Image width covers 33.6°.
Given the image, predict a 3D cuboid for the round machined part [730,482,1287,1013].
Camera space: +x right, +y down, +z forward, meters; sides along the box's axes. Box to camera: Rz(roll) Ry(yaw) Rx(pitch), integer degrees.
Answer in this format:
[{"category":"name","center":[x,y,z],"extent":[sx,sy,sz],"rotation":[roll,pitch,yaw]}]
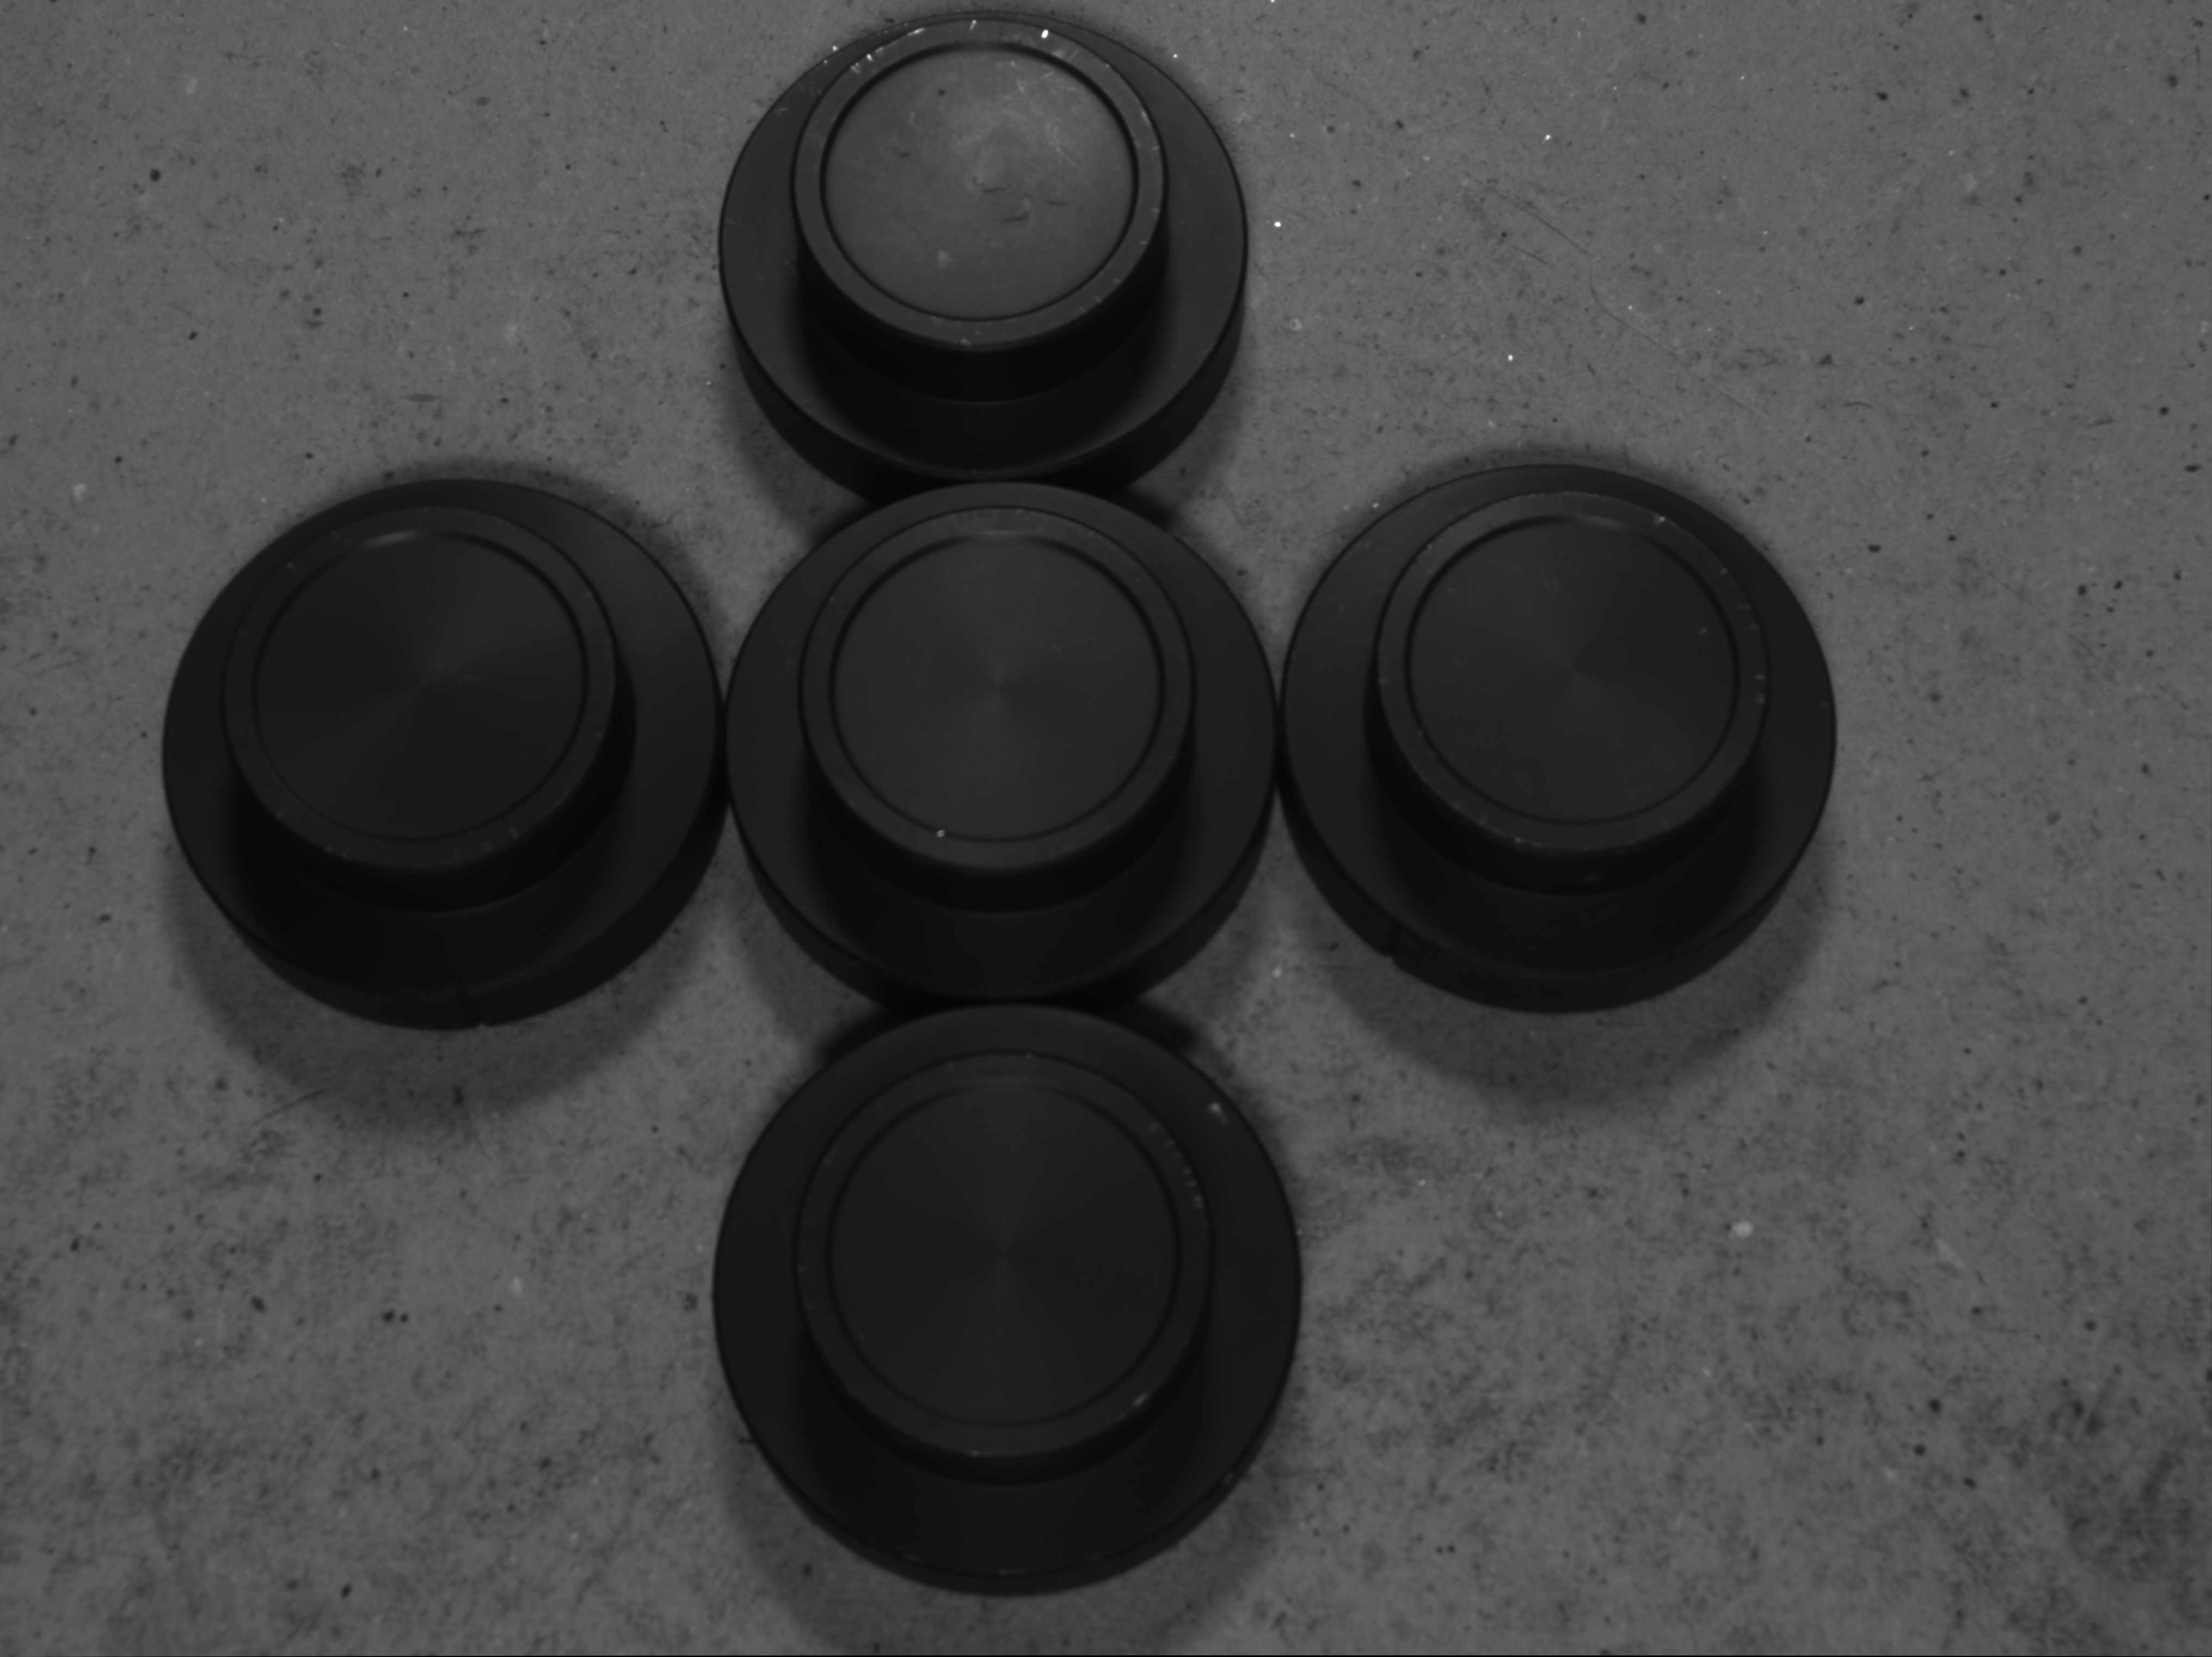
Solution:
[{"category":"round machined part","center":[-0.017,-0.017,0.642],"extent":[0.098,0.042,0.098],"rotation":[0,70,0]}]

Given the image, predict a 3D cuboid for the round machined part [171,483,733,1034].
[{"category":"round machined part","center":[-0.115,-0.017,0.642],"extent":[0.098,0.042,0.098],"rotation":[0,70,0]}]

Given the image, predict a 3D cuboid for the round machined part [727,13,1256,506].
[{"category":"round machined part","center":[-0.021,-0.109,0.676],"extent":[0.098,0.042,0.098],"rotation":[0,70,0]}]

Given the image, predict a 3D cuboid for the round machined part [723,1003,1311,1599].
[{"category":"round machined part","center":[-0.015,0.075,0.608],"extent":[0.098,0.042,0.098],"rotation":[0,70,0]}]

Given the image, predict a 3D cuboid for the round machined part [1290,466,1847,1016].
[{"category":"round machined part","center":[0.081,-0.020,0.643],"extent":[0.098,0.042,0.098],"rotation":[0,70,0]}]
